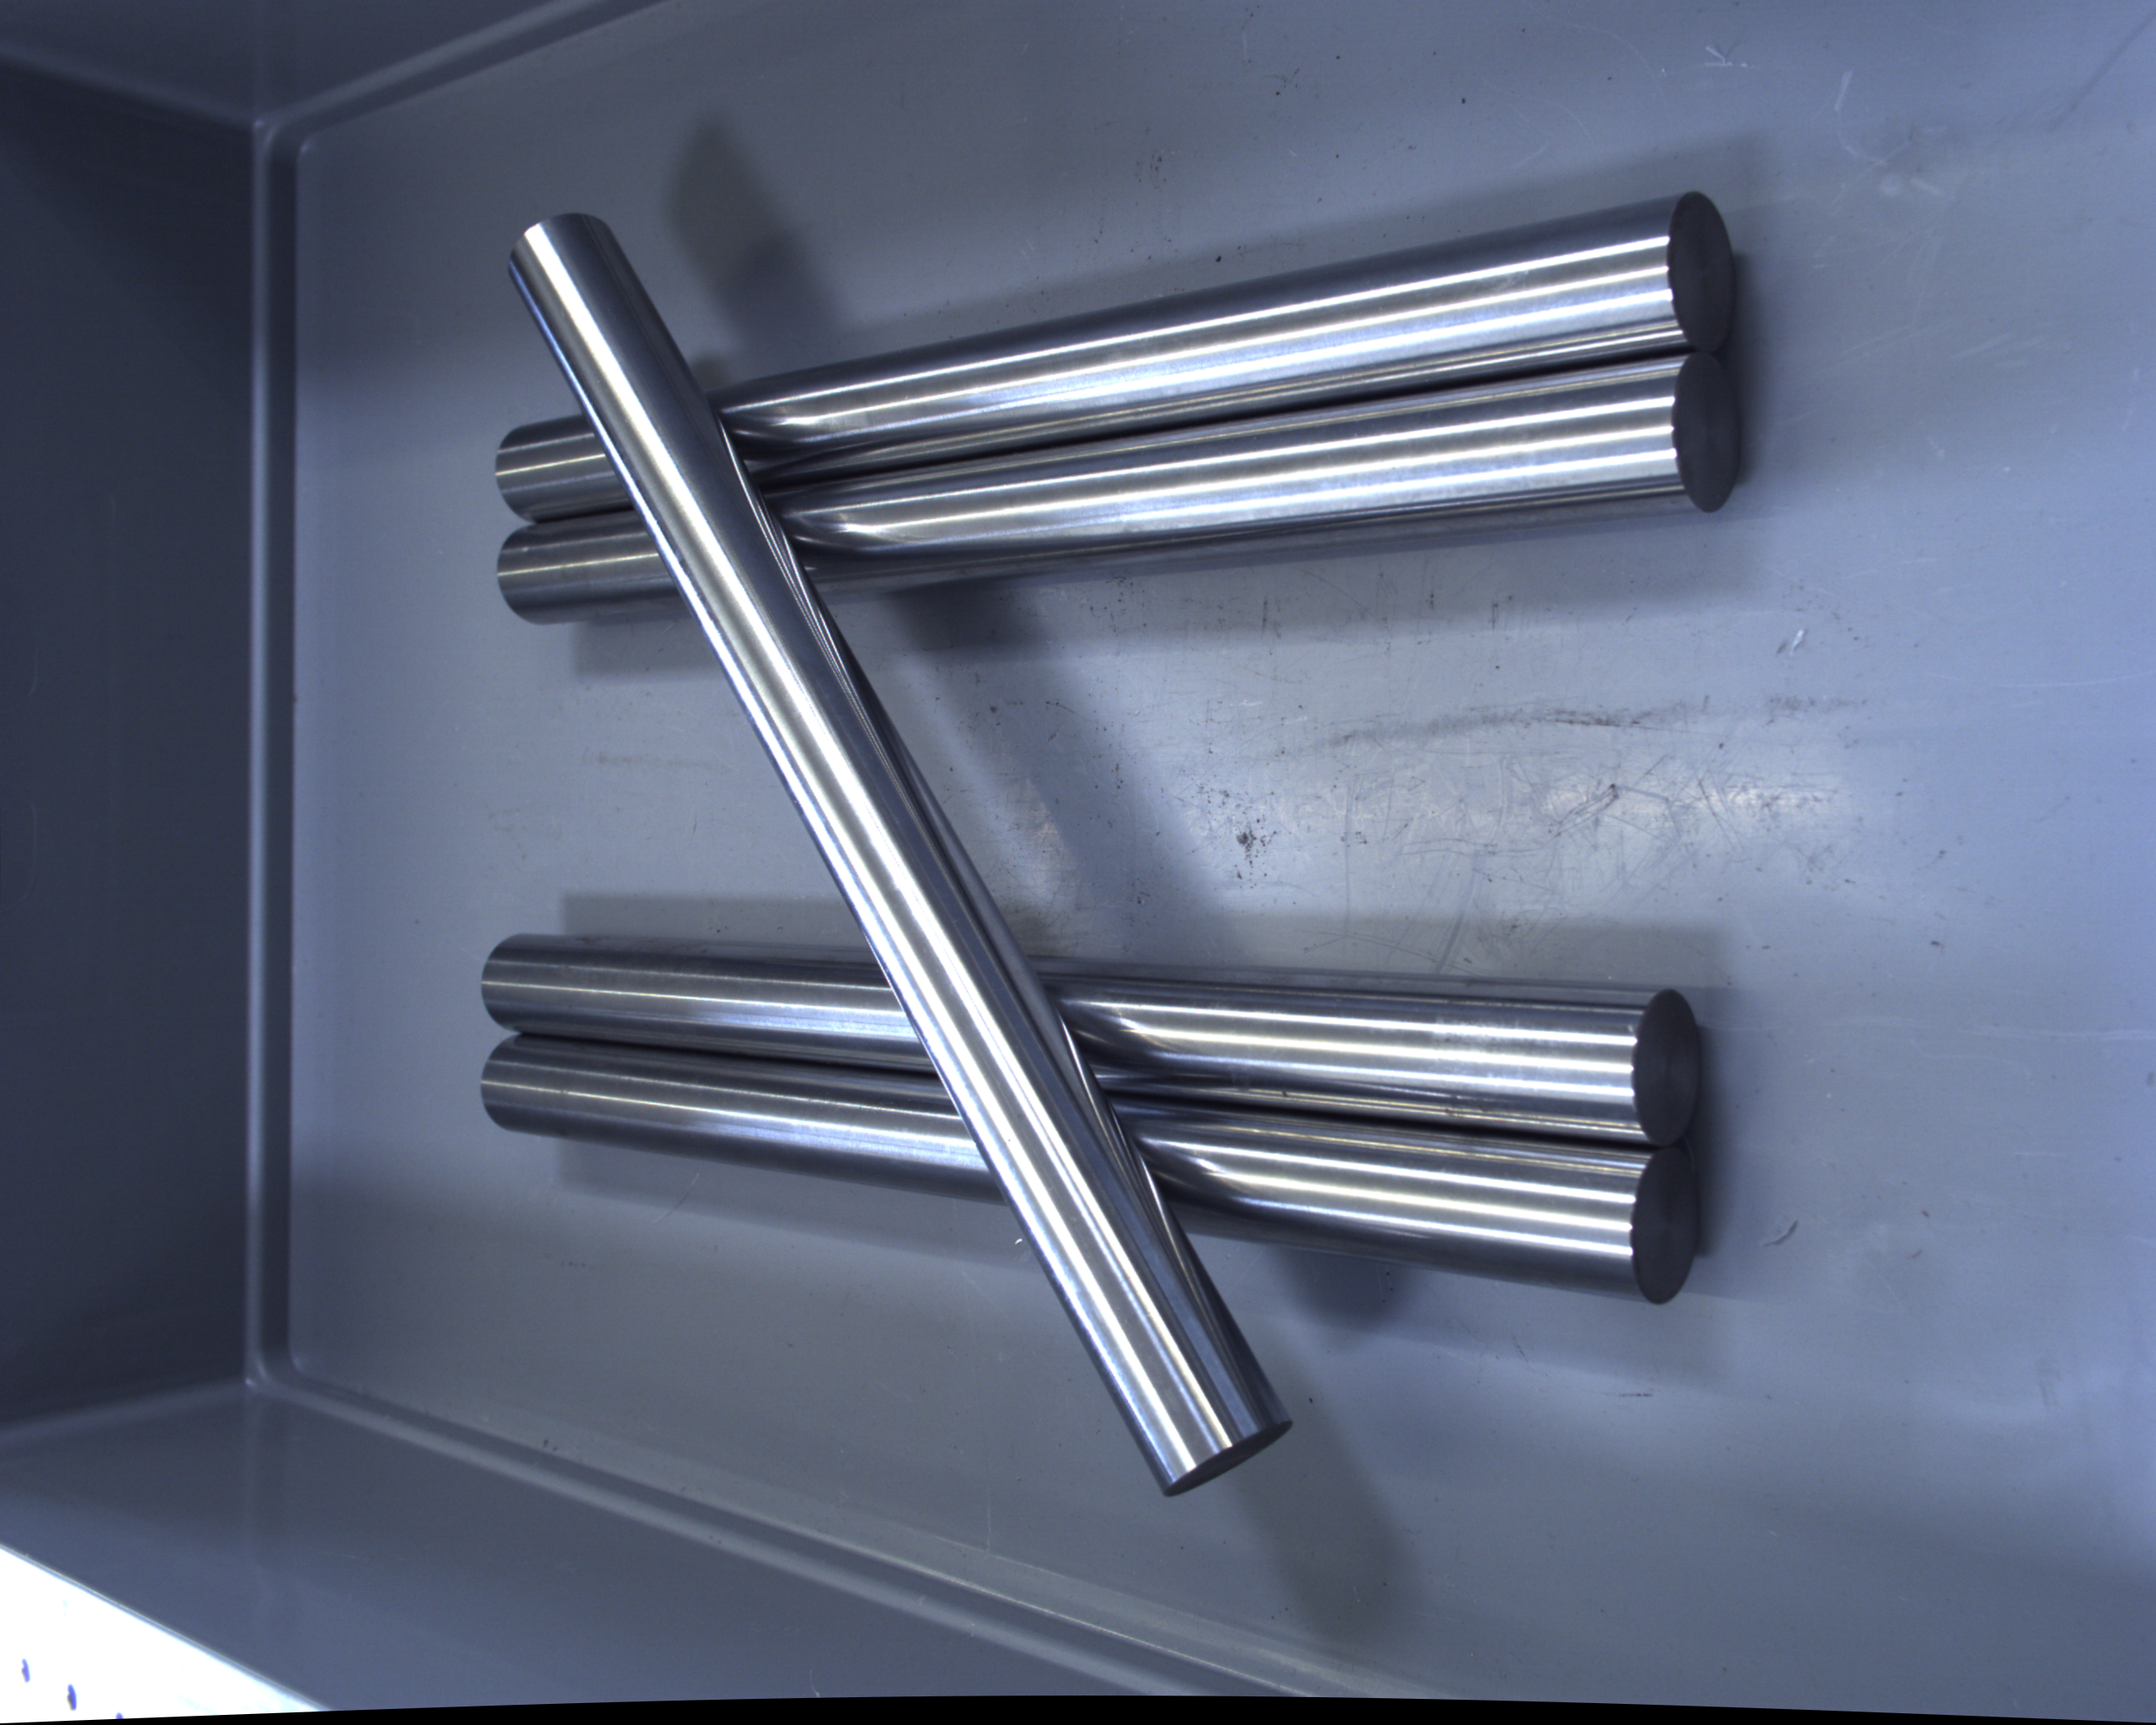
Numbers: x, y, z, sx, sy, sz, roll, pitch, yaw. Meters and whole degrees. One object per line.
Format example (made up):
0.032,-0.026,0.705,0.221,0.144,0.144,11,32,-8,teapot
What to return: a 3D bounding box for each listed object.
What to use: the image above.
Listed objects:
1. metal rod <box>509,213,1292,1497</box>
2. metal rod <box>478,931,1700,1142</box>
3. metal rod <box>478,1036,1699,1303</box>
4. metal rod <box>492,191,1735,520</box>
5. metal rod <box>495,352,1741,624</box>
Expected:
-0.045,-0.018,0.410,0.025,0.025,0.299,-45,63,31,metal rod
-0.023,0.030,0.423,0.300,0.025,0.025,0,90,40,metal rod
-0.023,0.056,0.424,0.300,0.025,0.025,0,90,40,metal rod
-0.018,-0.094,0.420,0.300,0.025,0.025,1,91,40,metal rod
-0.018,-0.069,0.419,0.300,0.025,0.025,1,91,40,metal rod
